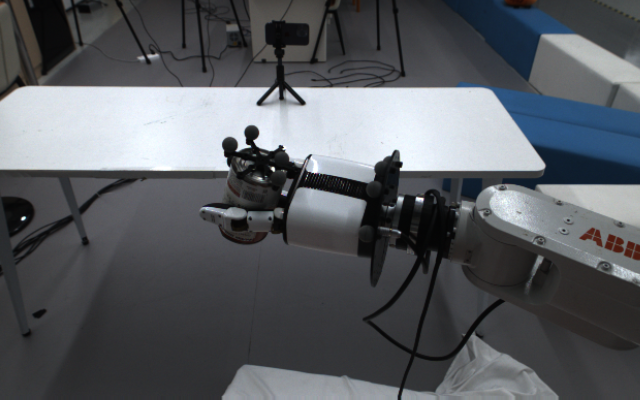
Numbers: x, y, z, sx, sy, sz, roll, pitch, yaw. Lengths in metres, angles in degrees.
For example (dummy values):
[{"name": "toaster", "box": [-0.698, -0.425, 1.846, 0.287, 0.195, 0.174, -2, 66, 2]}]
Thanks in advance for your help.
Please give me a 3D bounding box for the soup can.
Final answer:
[{"name": "soup can", "box": [-0.082, -0.003, 0.588, 0.067, 0.101, 0.067, 14, 40, -12]}]
